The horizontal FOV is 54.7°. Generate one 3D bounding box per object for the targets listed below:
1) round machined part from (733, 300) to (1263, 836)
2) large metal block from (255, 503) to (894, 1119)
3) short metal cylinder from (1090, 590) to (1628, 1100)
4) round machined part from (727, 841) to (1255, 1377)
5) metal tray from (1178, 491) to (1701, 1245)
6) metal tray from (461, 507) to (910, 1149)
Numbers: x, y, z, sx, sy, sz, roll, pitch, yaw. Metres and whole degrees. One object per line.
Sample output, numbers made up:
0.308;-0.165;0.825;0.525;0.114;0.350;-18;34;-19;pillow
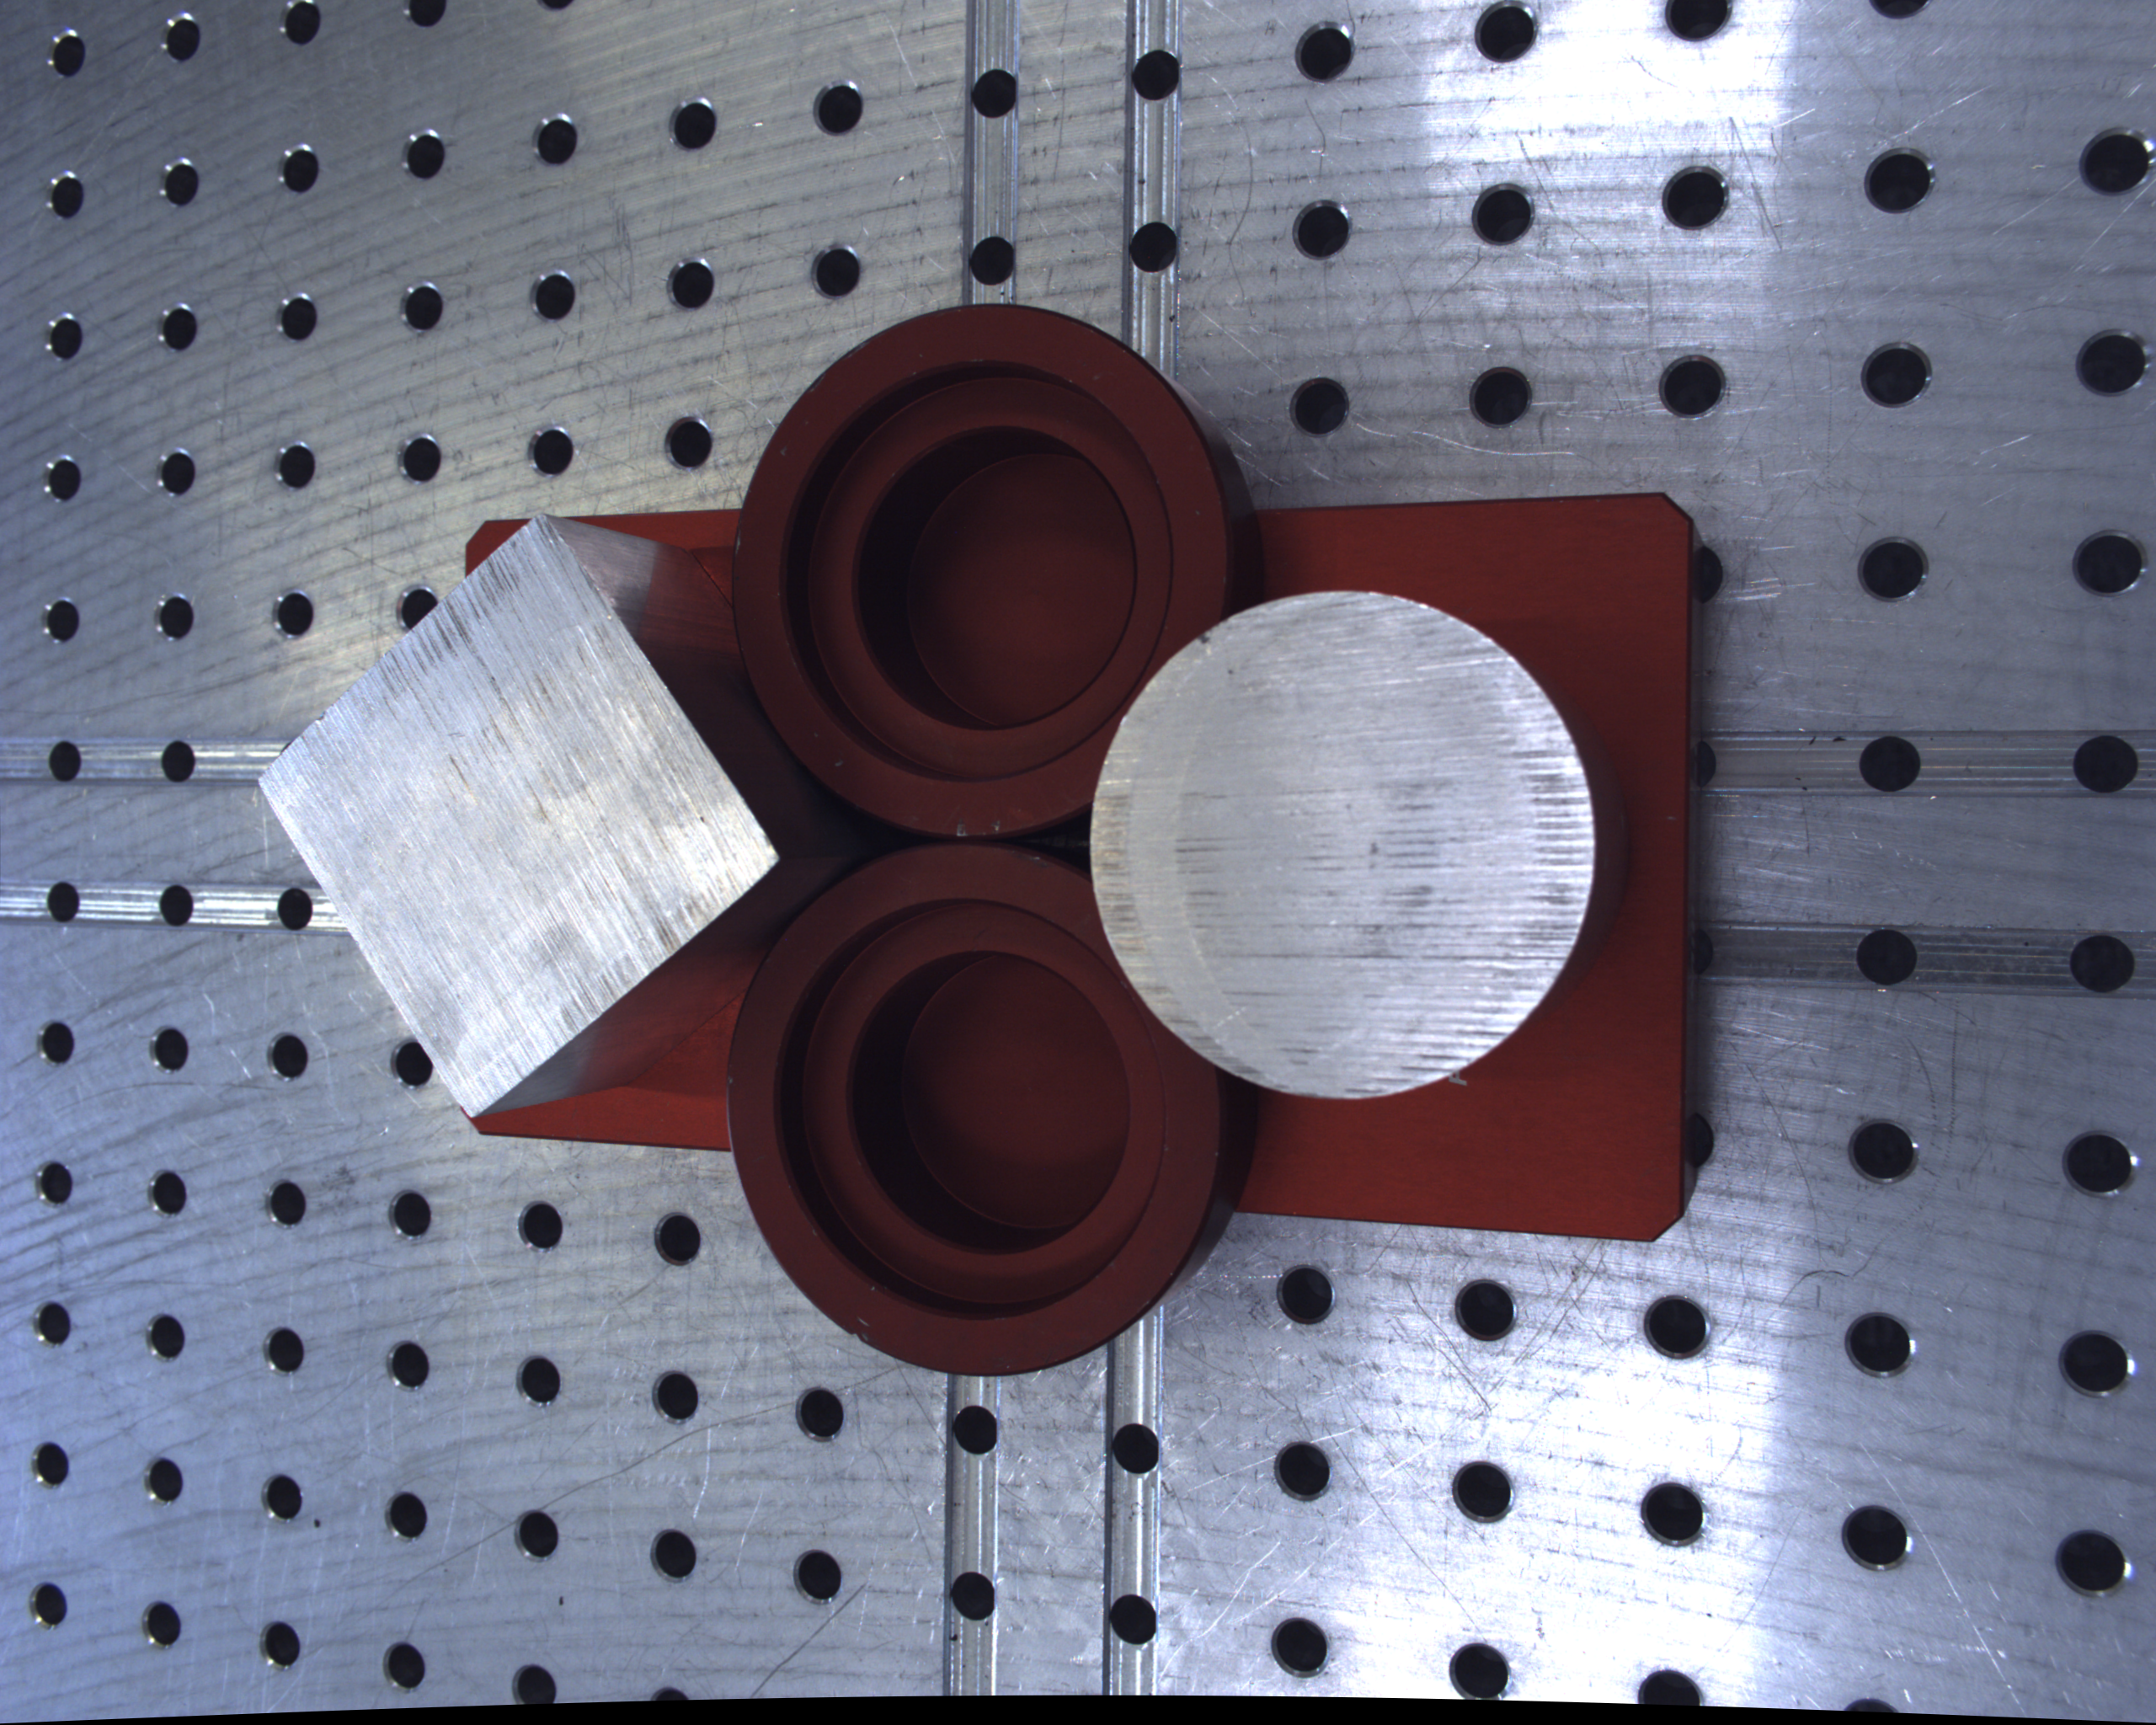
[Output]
-0.012;-0.054;0.398;0.098;0.042;0.097;0;90;20;round machined part
-0.095;-0.009;0.400;0.080;0.050;0.080;-38;78;16;large metal block
0.048;-0.003;0.349;0.080;0.050;0.079;0;90;20;short metal cylinder
-0.014;0.045;0.398;0.098;0.042;0.097;0;90;20;round machined part
0.067;0.000;0.384;0.090;0.030;0.129;1;90;19;metal tray
-0.083;-0.007;0.439;0.090;0.030;0.129;1;90;18;metal tray
